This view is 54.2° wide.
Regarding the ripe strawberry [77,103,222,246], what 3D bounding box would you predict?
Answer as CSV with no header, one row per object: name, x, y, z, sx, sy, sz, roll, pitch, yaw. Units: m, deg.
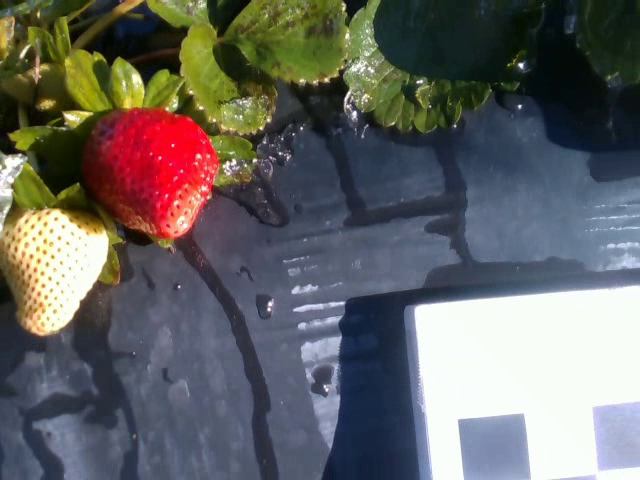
ripe strawberry,-0.051,-0.015,0.201,0.042,0.046,0.061,-19,45,-2
